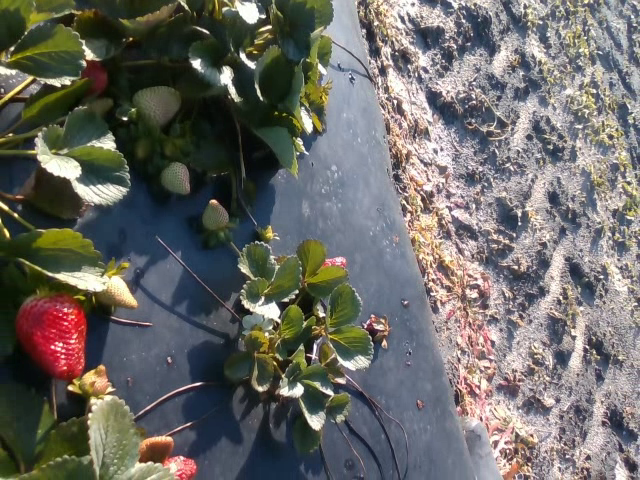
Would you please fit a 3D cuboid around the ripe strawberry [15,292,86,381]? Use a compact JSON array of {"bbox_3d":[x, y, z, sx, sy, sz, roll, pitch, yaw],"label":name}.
[{"bbox_3d":[-0.182,0.069,0.428,0.056,0.072,0.055,-30,-18,-2],"label":"ripe strawberry"}]
